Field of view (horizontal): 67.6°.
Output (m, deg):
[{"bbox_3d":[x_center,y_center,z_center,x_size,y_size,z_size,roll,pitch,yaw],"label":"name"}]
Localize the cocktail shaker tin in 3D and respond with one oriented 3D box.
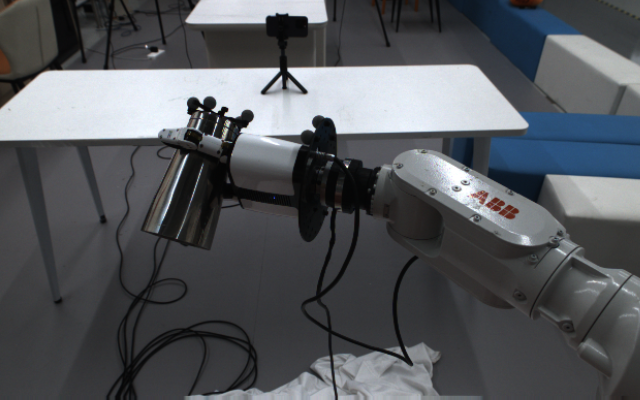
[{"bbox_3d":[-0.164,-0.030,0.645,0.093,0.093,0.170,13,78,15],"label":"cocktail shaker tin"}]
